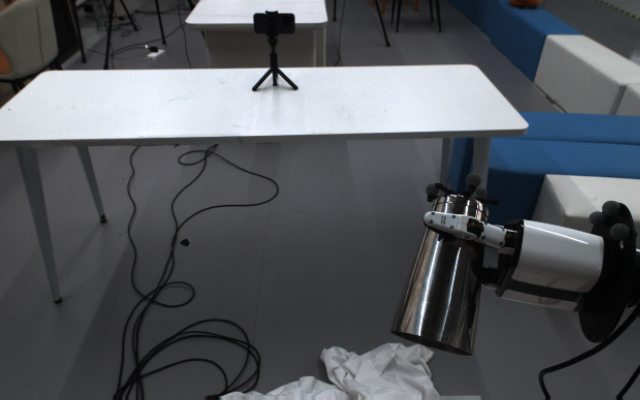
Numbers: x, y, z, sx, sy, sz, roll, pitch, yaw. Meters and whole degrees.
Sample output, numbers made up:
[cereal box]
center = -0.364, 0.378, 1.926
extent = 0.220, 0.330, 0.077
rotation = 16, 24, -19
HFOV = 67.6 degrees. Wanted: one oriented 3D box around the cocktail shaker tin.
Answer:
[cocktail shaker tin]
center = 0.149, 0.081, 0.570
extent = 0.093, 0.093, 0.170
rotation = 13, 71, 16
